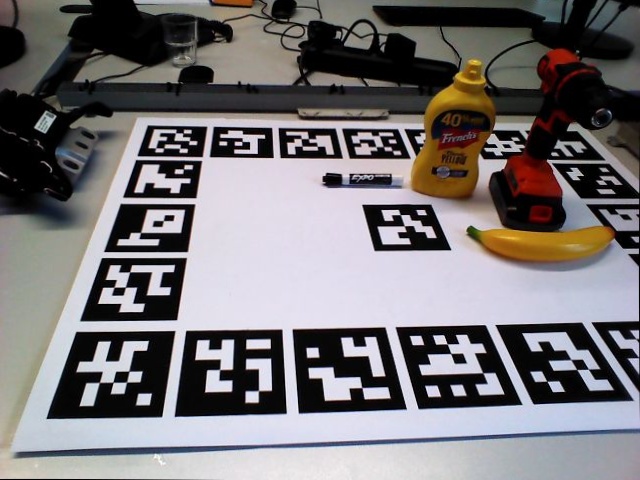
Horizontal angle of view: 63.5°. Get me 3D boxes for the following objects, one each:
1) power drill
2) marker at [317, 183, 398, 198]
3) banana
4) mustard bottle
[{"bbox_3d":[0.299,-0.104,0.677,0.057,0.188,0.183,10,39,4],"label":"power drill"},{"bbox_3d":[0.057,-0.075,0.782,0.121,0.020,0.019,1,42,-3],"label":"marker"},{"bbox_3d":[0.290,0.025,0.674,0.198,0.039,0.074,4,43,3],"label":"banana"},{"bbox_3d":[0.188,-0.134,0.727,0.096,0.192,0.058,8,41,3],"label":"mustard bottle"}]
